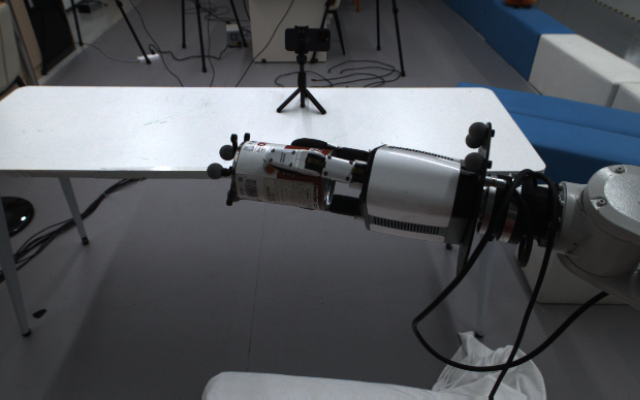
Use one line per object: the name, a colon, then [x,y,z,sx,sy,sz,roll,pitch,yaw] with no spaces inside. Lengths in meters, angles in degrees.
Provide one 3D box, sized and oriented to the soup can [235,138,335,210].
soup can: [-0.035,-0.028,0.534,0.101,0.067,0.067,7,35,10]
